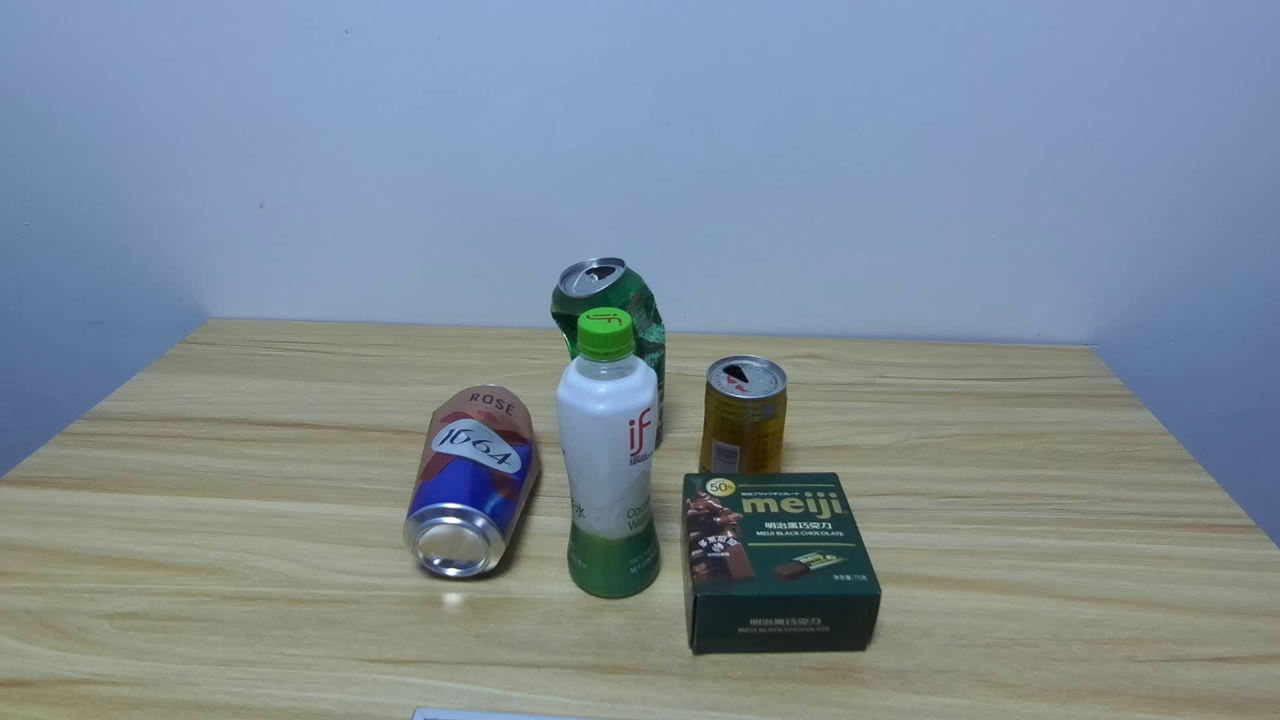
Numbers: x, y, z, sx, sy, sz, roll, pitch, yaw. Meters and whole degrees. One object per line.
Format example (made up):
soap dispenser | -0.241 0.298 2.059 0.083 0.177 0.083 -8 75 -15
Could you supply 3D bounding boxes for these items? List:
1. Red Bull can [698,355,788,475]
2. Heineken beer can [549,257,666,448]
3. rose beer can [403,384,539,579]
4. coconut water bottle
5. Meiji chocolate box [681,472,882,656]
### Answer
Red Bull can | 0.077 0.050 0.539 0.069 0.092 0.069 0 30 0
Heineken beer can | -0.018 0.000 0.567 0.079 0.159 0.067 -18 29 -15
rose beer can | -0.120 0.080 0.523 0.070 0.069 0.167 -18 29 9
coconut water bottle | -0.018 0.059 0.434 0.063 0.189 0.063 -1 30 1
Meiji chocolate box | 0.083 0.127 0.453 0.110 0.056 0.109 0 31 -1
